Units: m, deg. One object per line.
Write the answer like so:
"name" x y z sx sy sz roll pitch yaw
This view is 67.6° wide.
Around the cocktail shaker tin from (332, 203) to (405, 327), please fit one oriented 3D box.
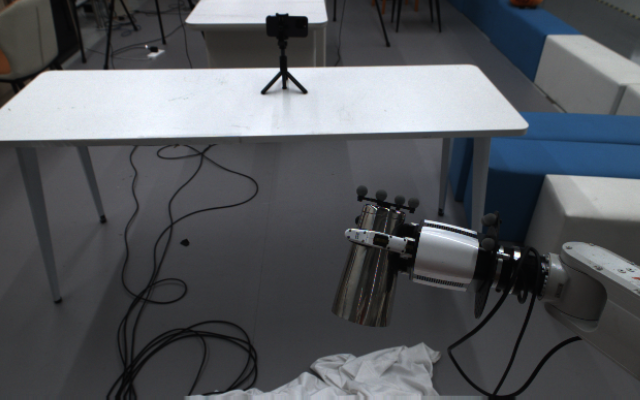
"cocktail shaker tin" 0.083 0.093 0.740 0.093 0.170 0.093 13 1 0
